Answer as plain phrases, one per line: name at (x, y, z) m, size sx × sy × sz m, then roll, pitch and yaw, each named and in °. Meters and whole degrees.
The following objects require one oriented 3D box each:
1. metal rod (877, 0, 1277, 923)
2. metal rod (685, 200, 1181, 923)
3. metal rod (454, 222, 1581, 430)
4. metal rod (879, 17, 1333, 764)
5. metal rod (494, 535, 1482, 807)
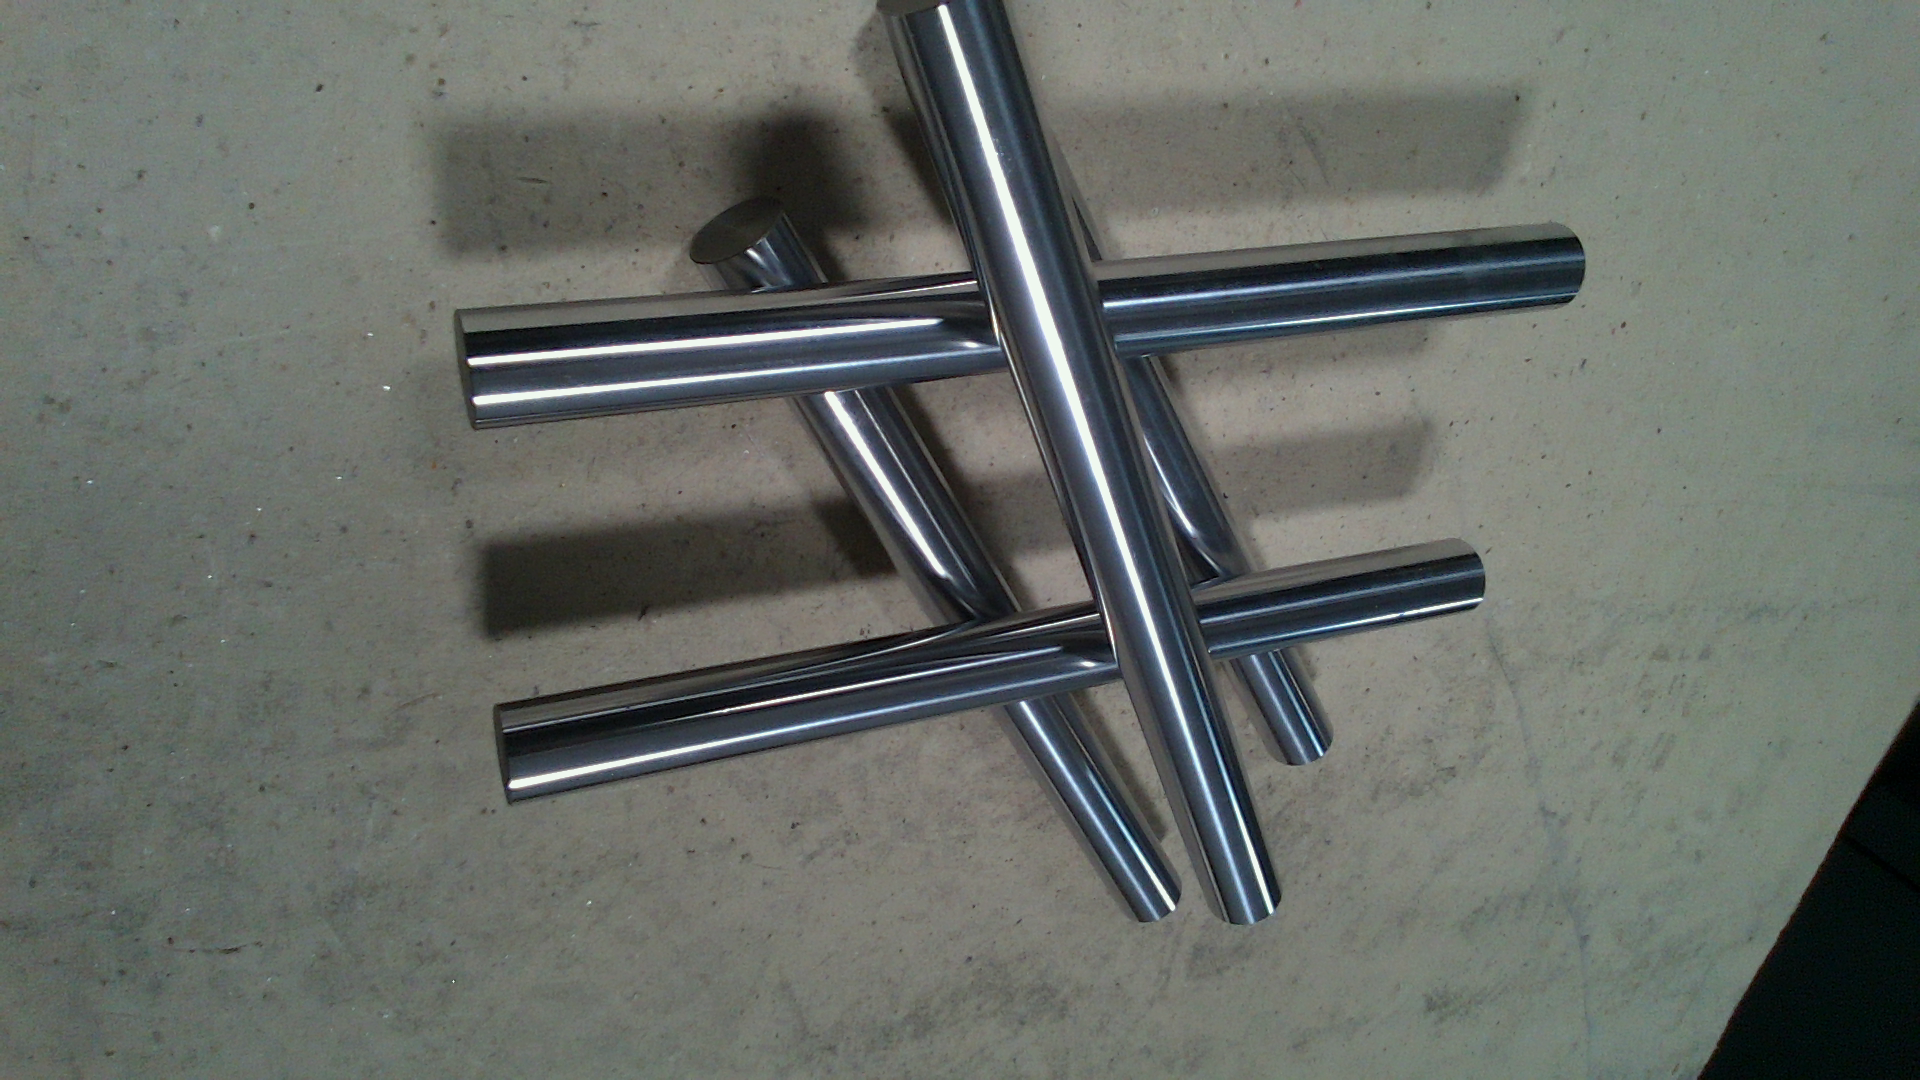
metal rod at (0.043, 0.004, 0.351) m, size 0.025 × 0.025 × 0.300 m, roll -30°, pitch 129°, yaw -9°
metal rod at (0.008, 0.029, 0.411) m, size 0.025 × 0.025 × 0.301 m, roll -35°, pitch 129°, yaw -5°
metal rod at (0.035, -0.057, 0.341) m, size 0.301 × 0.025 × 0.025 m, roll -9°, pitch 123°, yaw -23°
metal rod at (0.058, -0.026, 0.404) m, size 0.025 × 0.025 × 0.301 m, roll -37°, pitch 129°, yaw -4°
metal rod at (0.026, 0.031, 0.391) m, size 0.301 × 0.025 × 0.025 m, roll -9°, pitch 122°, yaw -24°
